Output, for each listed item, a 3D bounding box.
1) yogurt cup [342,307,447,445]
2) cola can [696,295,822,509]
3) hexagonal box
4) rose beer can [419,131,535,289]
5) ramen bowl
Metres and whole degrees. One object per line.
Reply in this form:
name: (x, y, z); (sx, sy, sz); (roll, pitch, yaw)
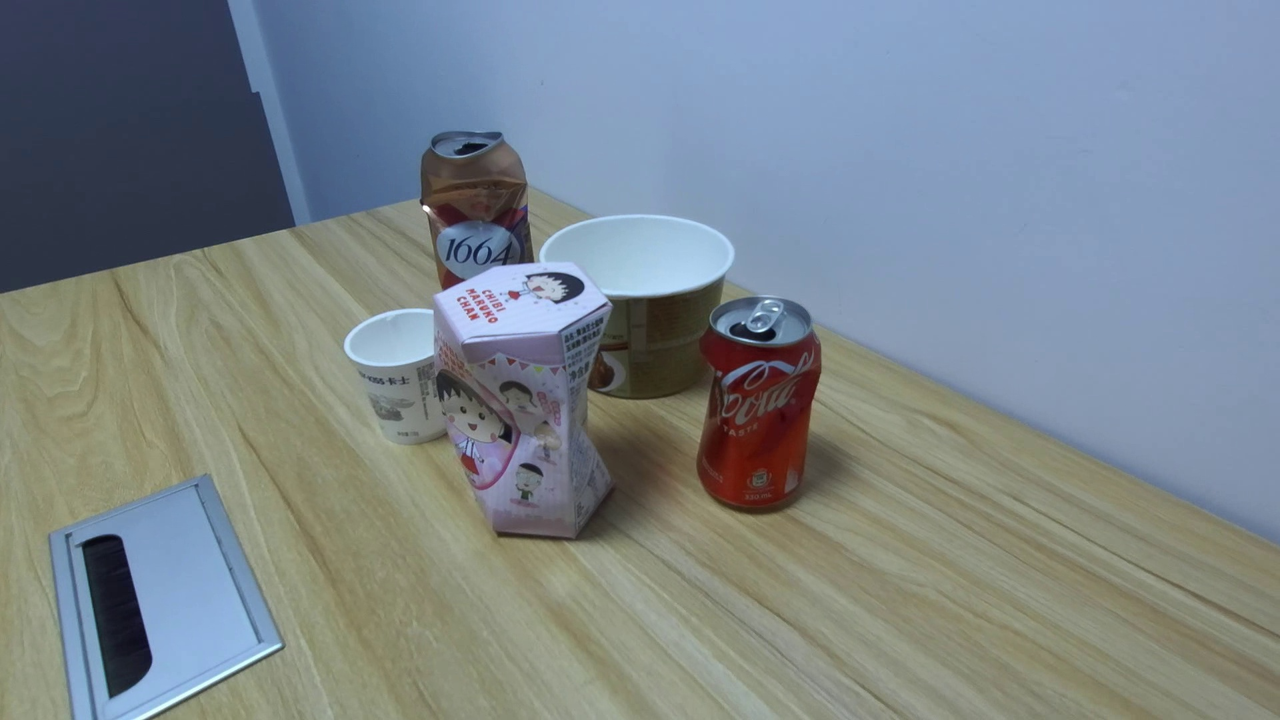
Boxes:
yogurt cup: (-0.150, 0.013, 0.468); (0.072, 0.068, 0.072); (-2, 34, 2)
cola can: (0.066, 0.024, 0.405); (0.066, 0.117, 0.066); (-7, 33, -11)
hexagonal box: (-0.061, 0.022, 0.397); (0.088, 0.135, 0.093); (13, 35, 21)
rose beer can: (-0.122, -0.092, 0.550); (0.074, 0.162, 0.067); (-17, 34, -23)
ramen bowl: (-0.001, -0.039, 0.527); (0.140, 0.095, 0.140); (1, 32, 0)
